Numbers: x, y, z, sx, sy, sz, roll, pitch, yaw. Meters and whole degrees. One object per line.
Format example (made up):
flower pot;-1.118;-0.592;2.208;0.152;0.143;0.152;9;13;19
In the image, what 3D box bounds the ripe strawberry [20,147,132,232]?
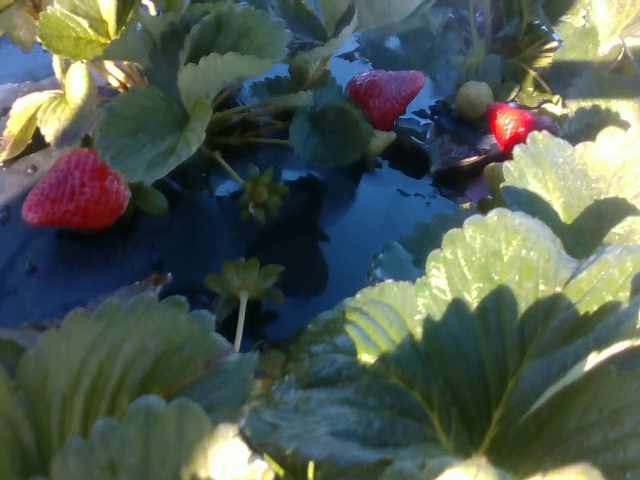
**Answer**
ripe strawberry;-0.116;-0.022;0.288;0.045;0.042;0.059;-3;34;46
